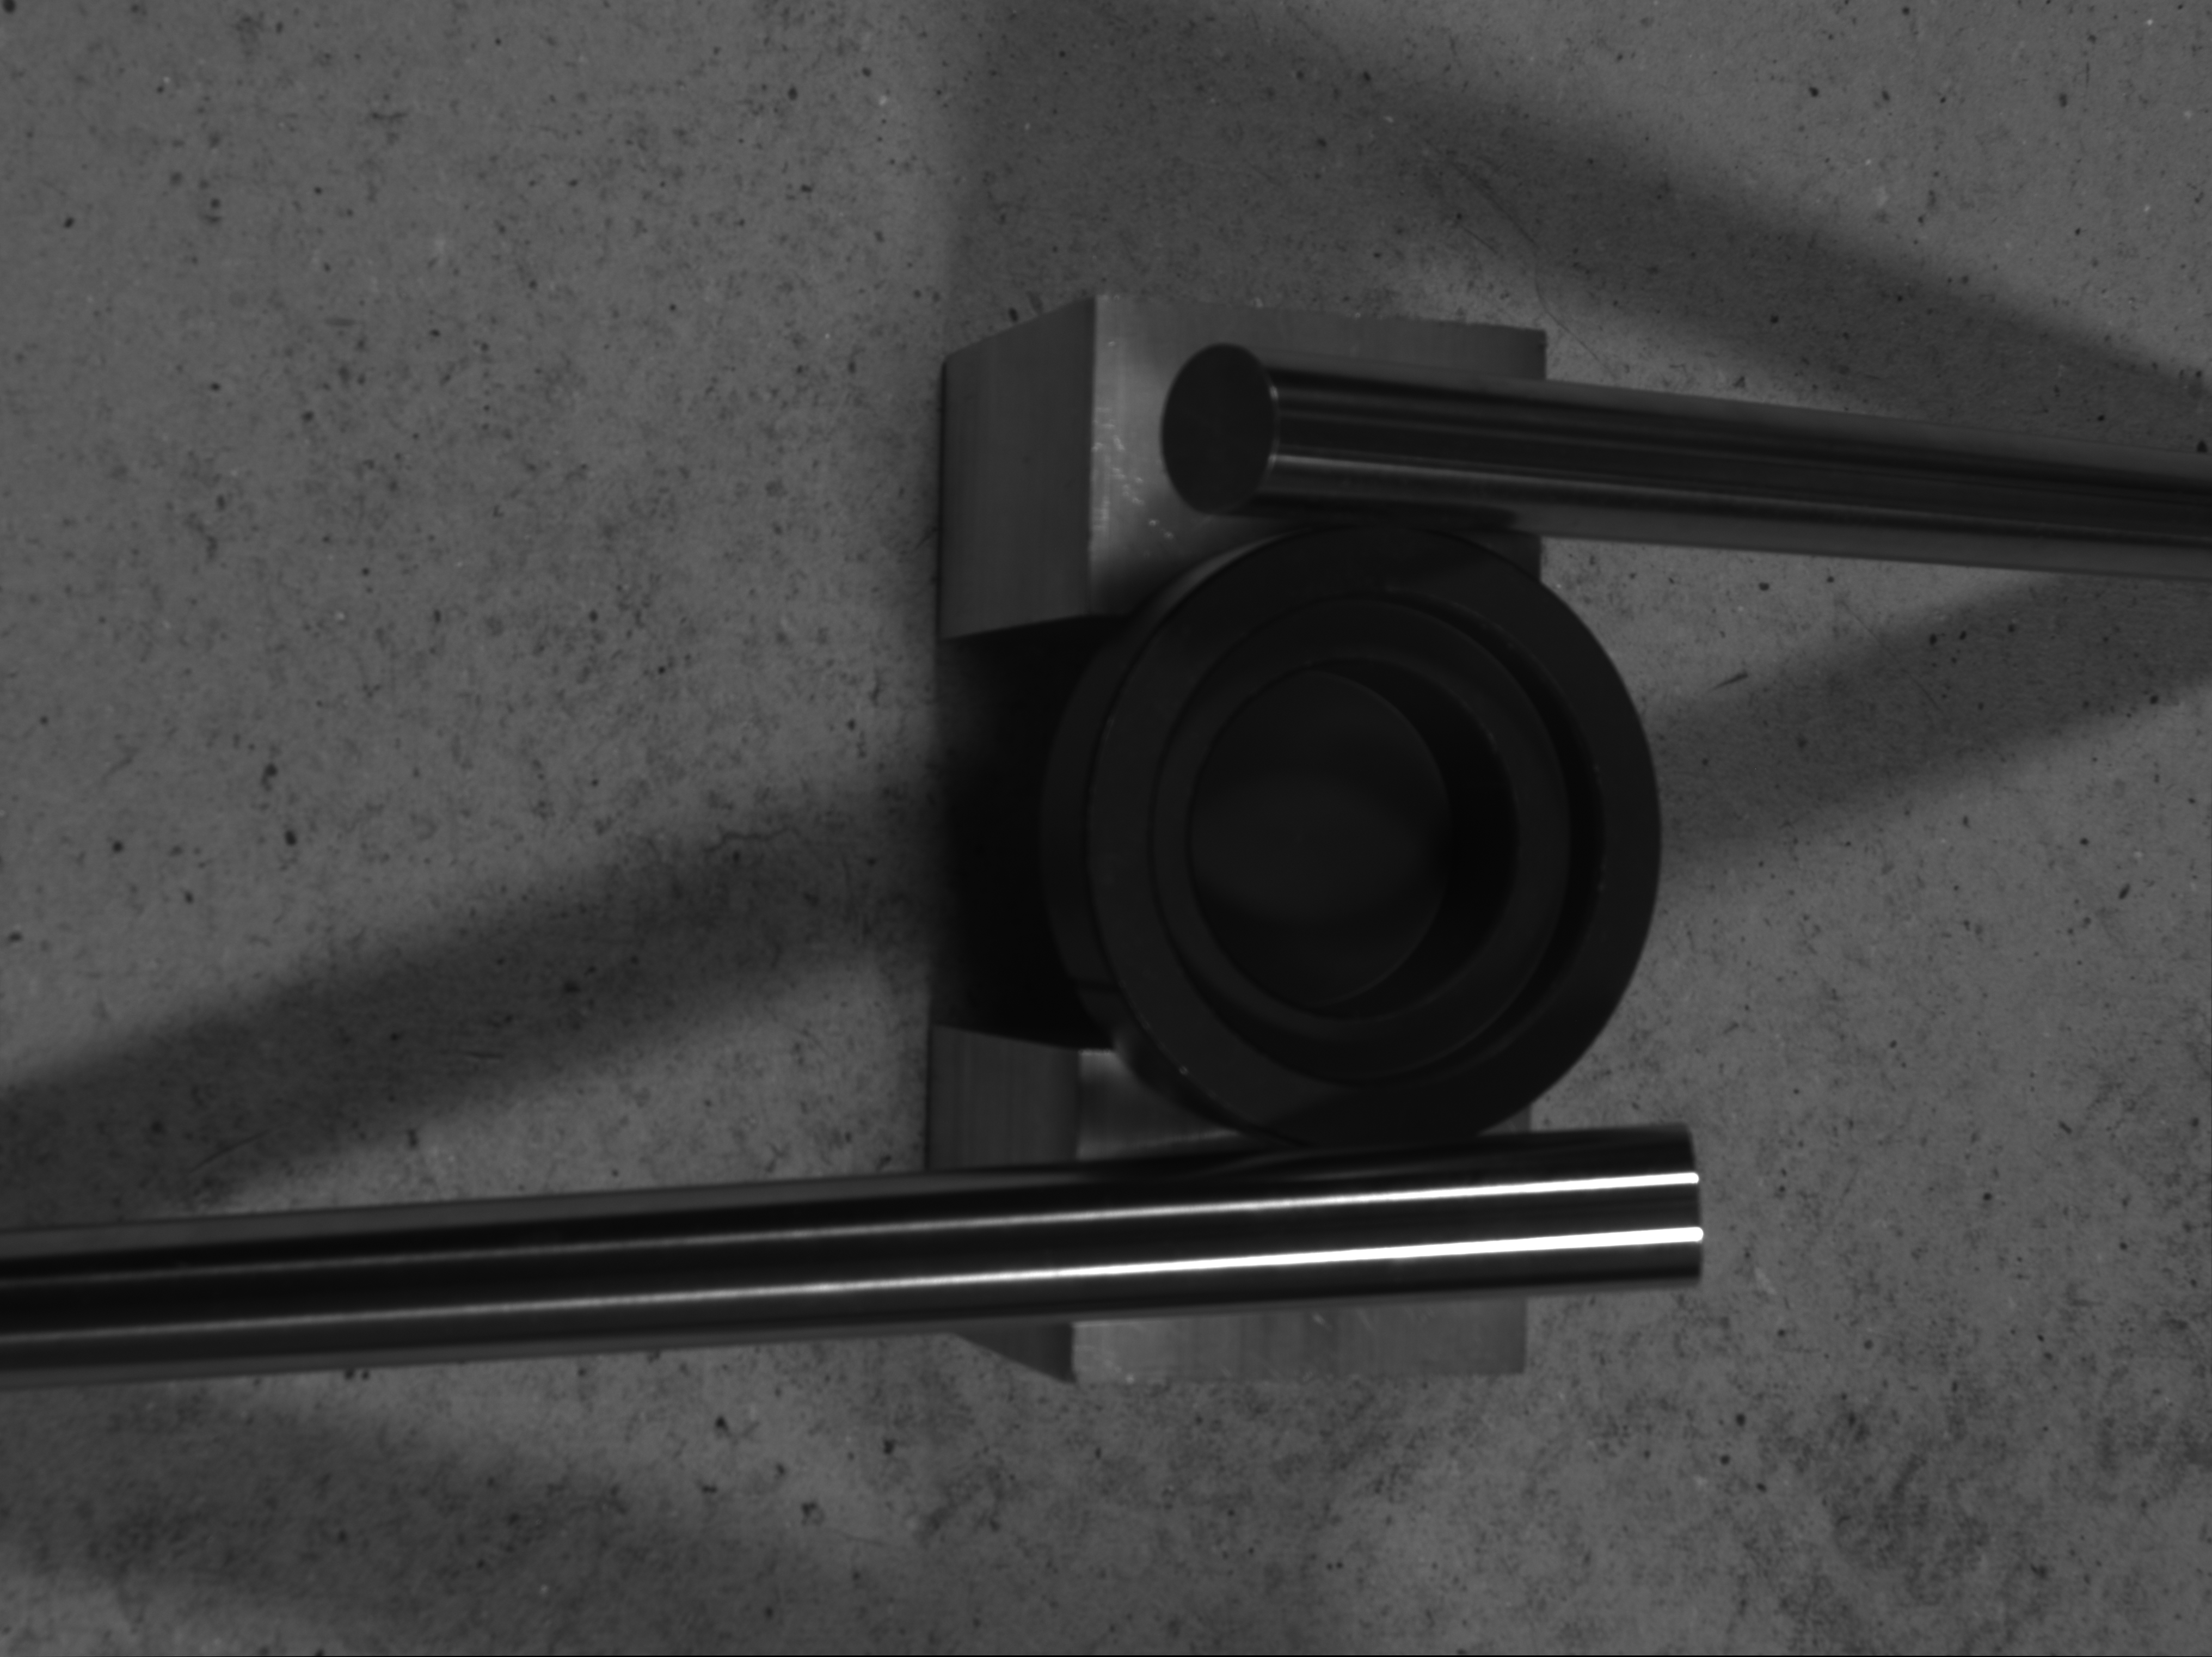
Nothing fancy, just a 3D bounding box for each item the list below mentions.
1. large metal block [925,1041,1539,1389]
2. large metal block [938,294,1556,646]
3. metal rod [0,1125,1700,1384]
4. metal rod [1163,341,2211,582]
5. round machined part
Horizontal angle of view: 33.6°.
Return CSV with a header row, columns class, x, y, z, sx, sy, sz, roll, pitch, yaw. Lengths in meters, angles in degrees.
class,x,y,z,sx,sy,sz,roll,pitch,yaw
large metal block,0.019,0.063,0.621,0.080,0.080,0.050,1,89,-20
large metal block,0.022,-0.057,0.622,0.080,0.080,0.050,1,89,-20
metal rod,-0.061,0.067,0.562,0.300,0.025,0.025,-4,91,3
metal rod,0.129,-0.060,0.633,0.301,0.025,0.025,-1,90,-42
round machined part,0.036,0.002,0.585,0.098,0.042,0.098,0,90,-20
